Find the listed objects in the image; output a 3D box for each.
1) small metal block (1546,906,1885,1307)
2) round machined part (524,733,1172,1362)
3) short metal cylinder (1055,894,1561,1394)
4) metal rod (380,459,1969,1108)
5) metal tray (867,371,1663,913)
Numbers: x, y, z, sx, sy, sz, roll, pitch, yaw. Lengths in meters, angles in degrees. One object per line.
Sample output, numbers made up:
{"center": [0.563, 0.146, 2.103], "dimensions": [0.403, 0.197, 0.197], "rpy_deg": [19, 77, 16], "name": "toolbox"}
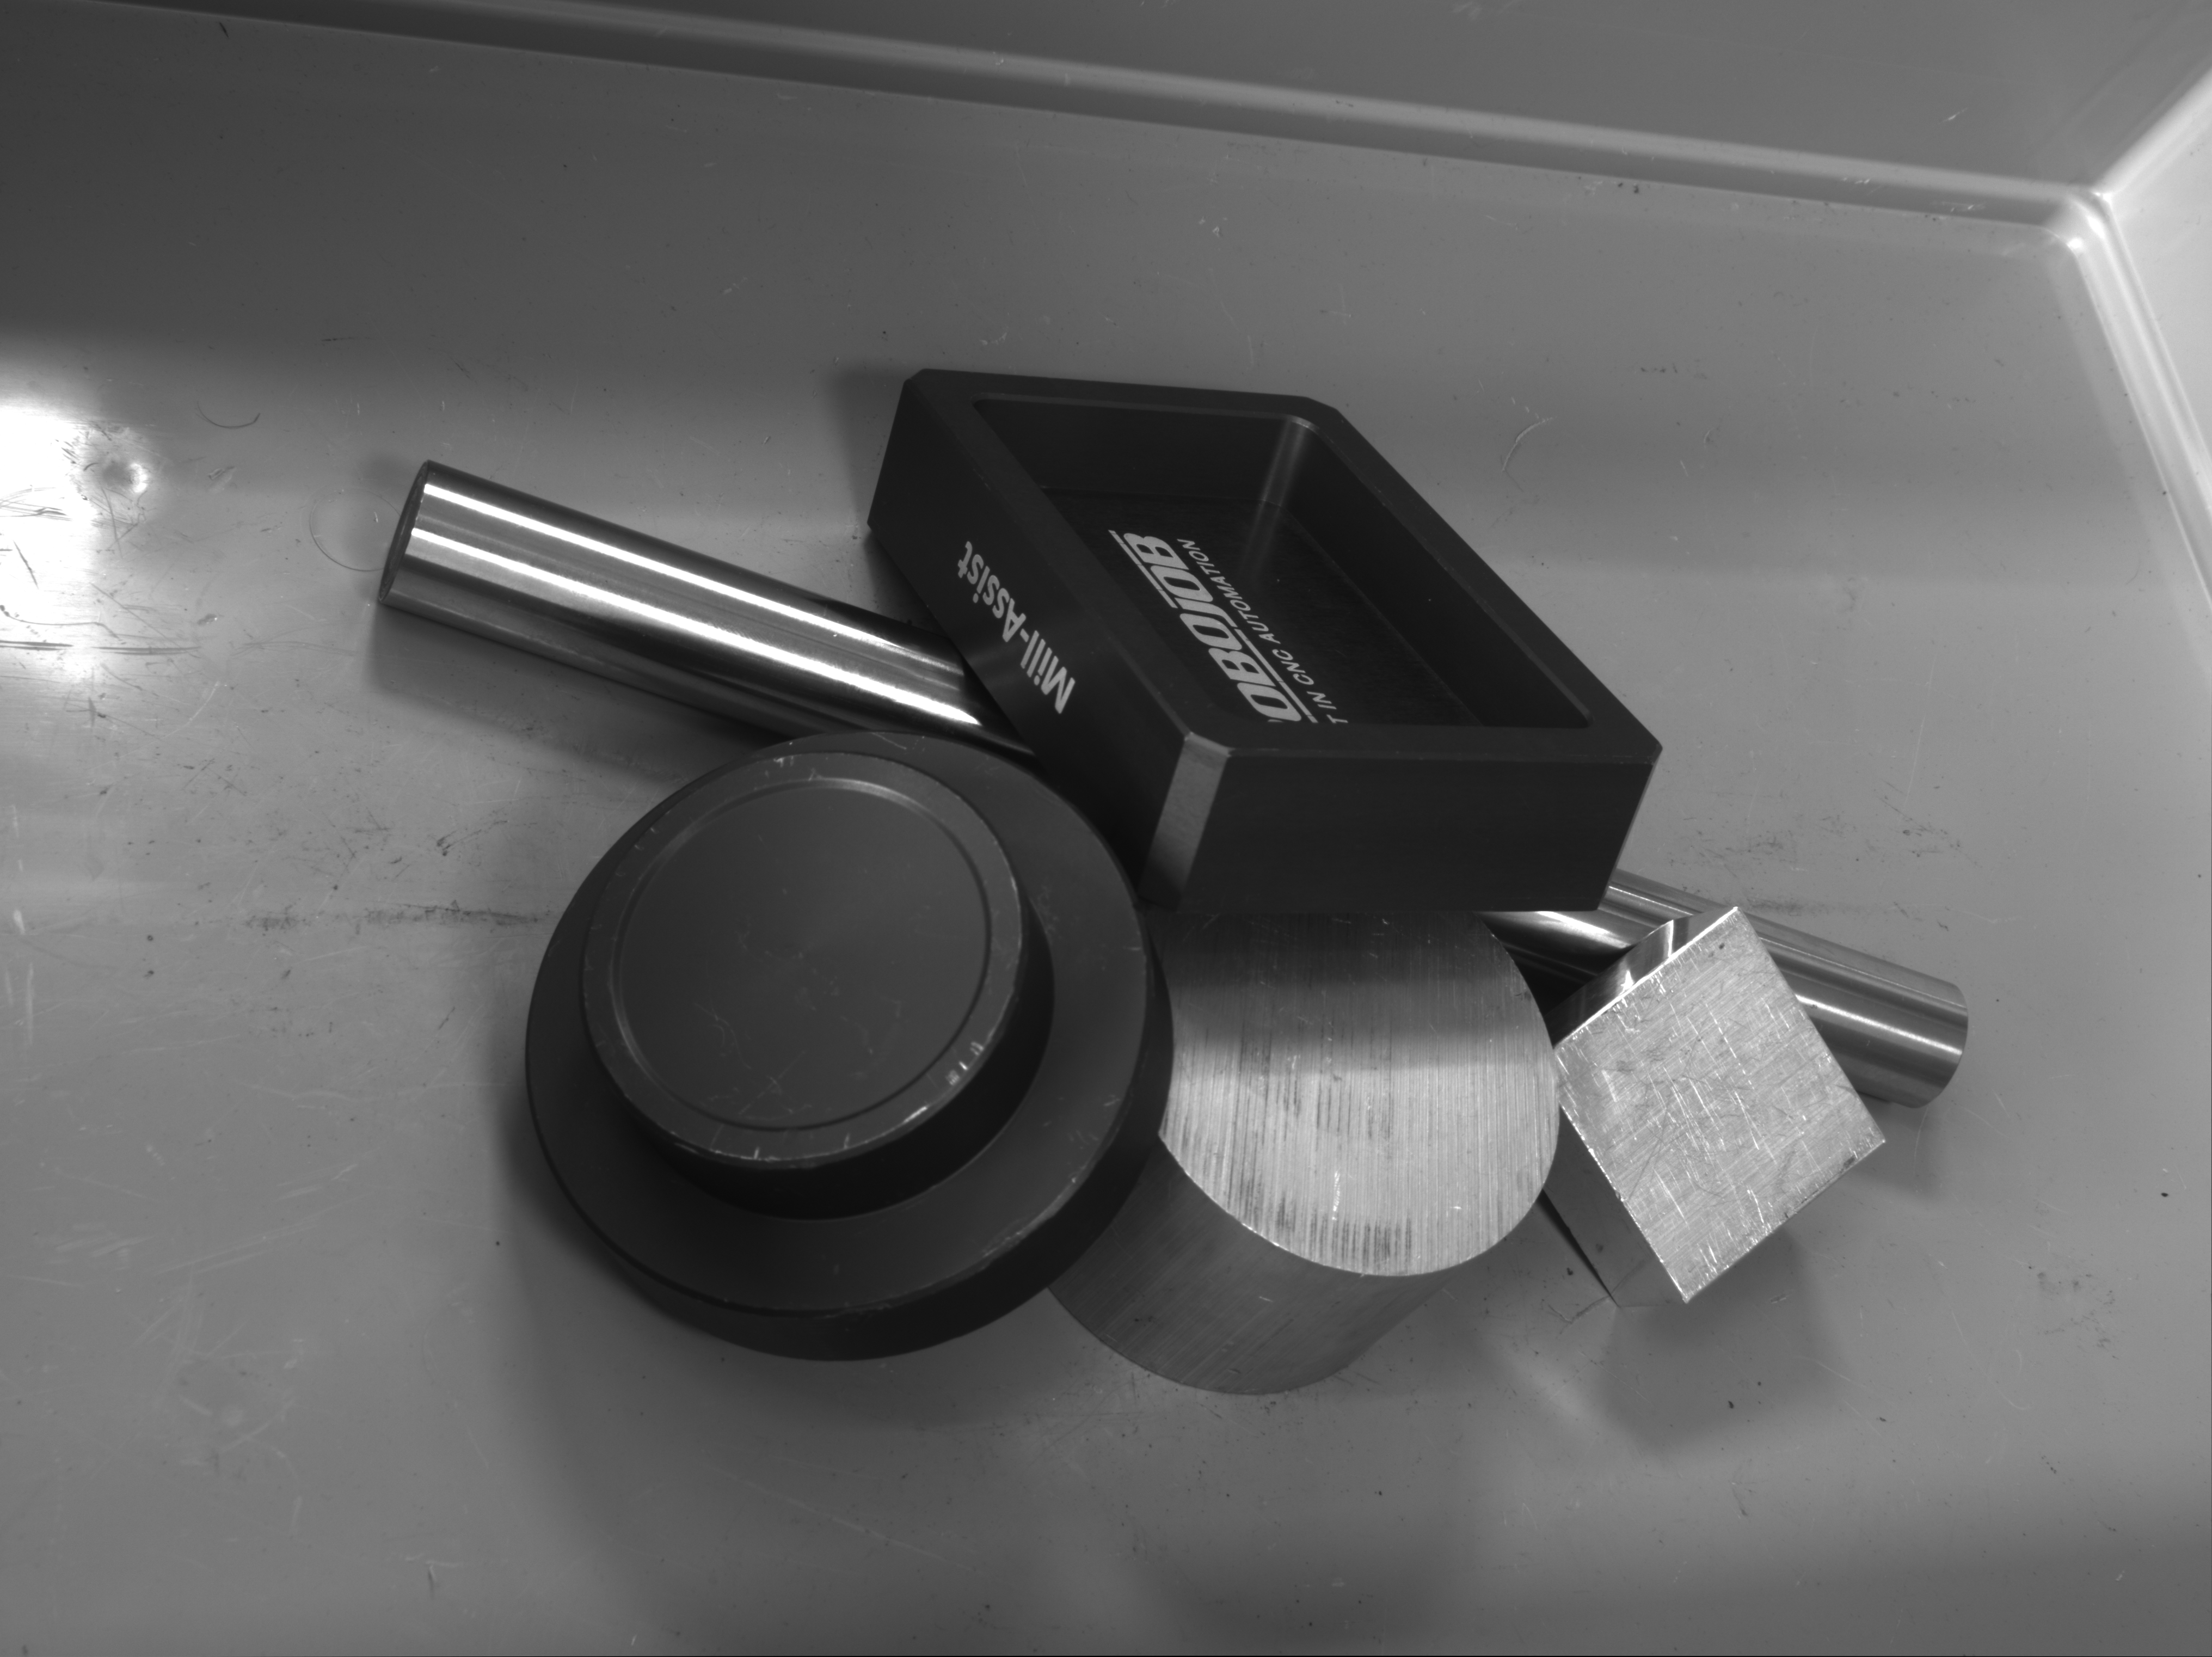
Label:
{"center": [0.100, 0.049, 0.647], "dimensions": [0.050, 0.025, 0.050], "rpy_deg": [-35, 97, -22], "name": "small metal block"}
{"center": [-0.041, 0.028, 0.558], "dimensions": [0.098, 0.042, 0.098], "rpy_deg": [-4, 62, 8], "name": "round machined part"}
{"center": [0.028, 0.047, 0.608], "dimensions": [0.080, 0.050, 0.080], "rpy_deg": [13, 56, -21], "name": "short metal cylinder"}
{"center": [0.020, -0.004, 0.651], "dimensions": [0.301, 0.025, 0.025], "rpy_deg": [18, 54, -18], "name": "metal rod"}
{"center": [0.024, -0.034, 0.631], "dimensions": [0.090, 0.030, 0.130], "rpy_deg": [0, 33, -29], "name": "metal tray"}
